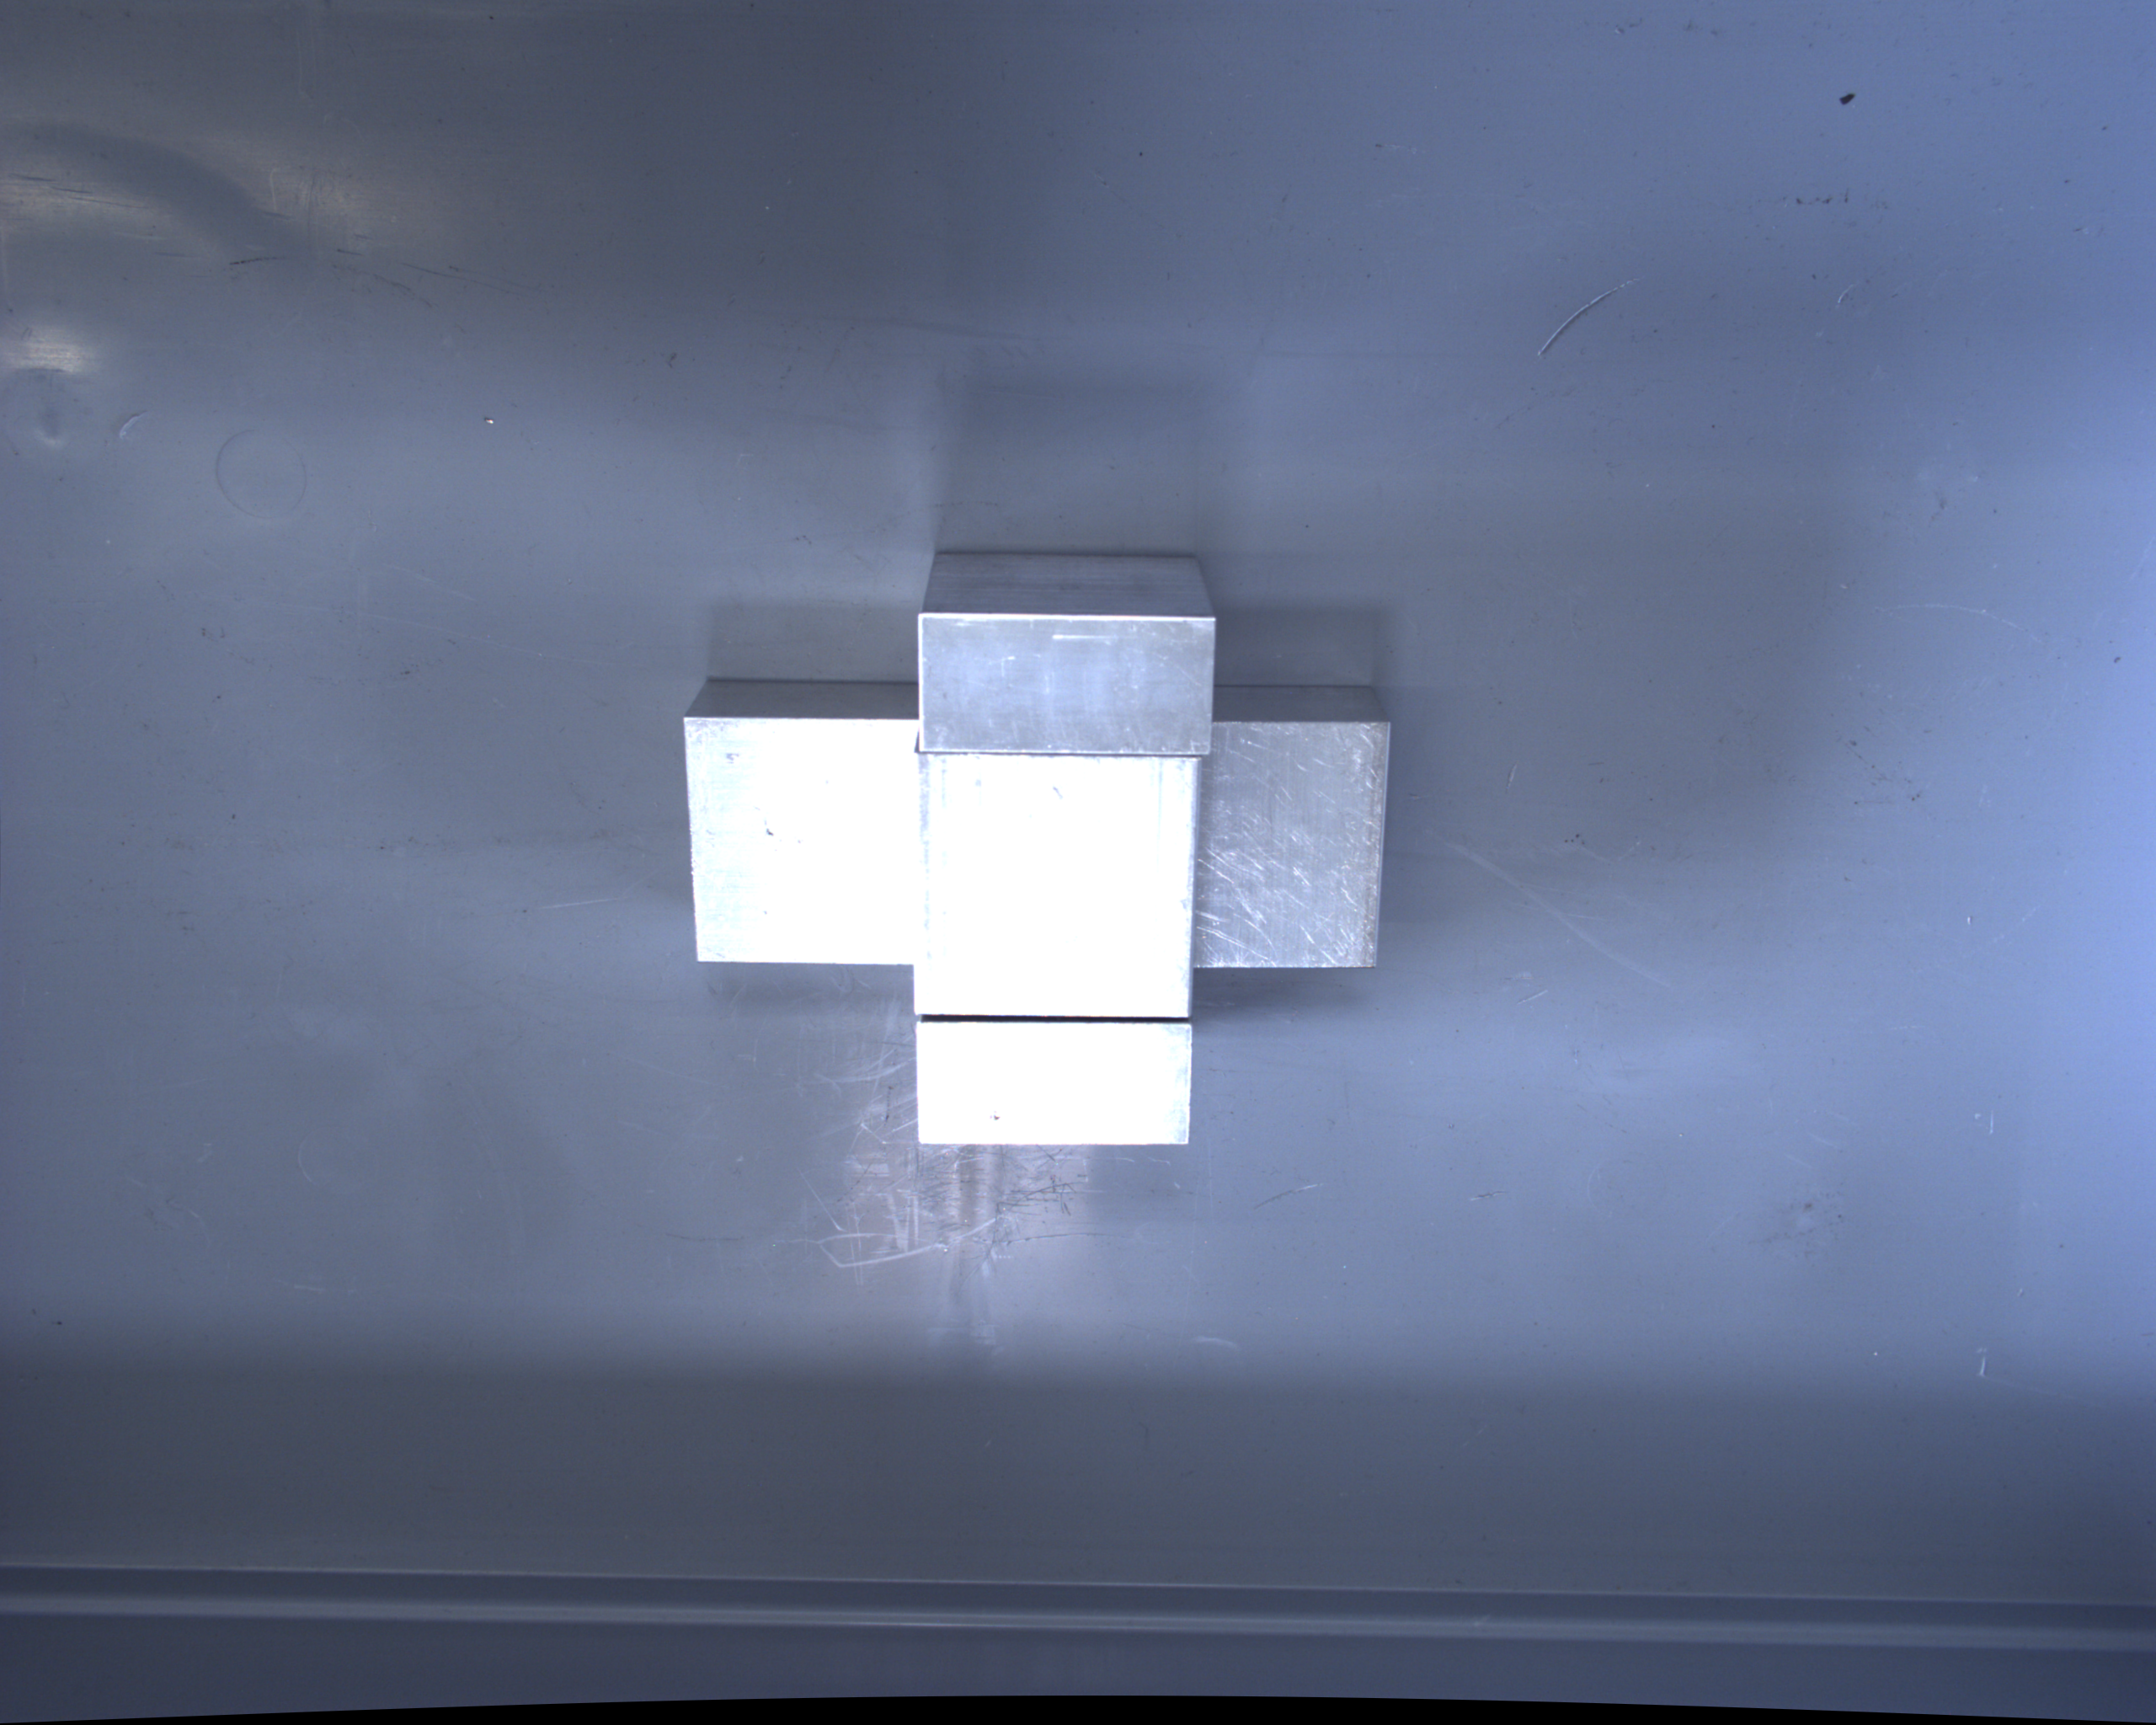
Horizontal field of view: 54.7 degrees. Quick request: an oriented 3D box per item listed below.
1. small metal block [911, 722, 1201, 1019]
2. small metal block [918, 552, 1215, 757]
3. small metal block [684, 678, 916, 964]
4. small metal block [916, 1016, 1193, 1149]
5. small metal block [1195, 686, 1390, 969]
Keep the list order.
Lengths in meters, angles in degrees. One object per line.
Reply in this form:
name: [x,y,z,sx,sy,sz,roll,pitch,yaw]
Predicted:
small metal block: [-0.004,0.001,0.382,0.050,0.025,0.050,1,110,-1]
small metal block: [-0.002,-0.039,0.381,0.050,0.050,0.025,1,110,-1]
small metal block: [-0.048,-0.008,0.405,0.050,0.025,0.050,1,110,-1]
small metal block: [-0.005,0.033,0.406,0.050,0.050,0.025,1,110,-1]
small metal block: [0.032,-0.007,0.407,0.050,0.025,0.050,1,110,-1]
